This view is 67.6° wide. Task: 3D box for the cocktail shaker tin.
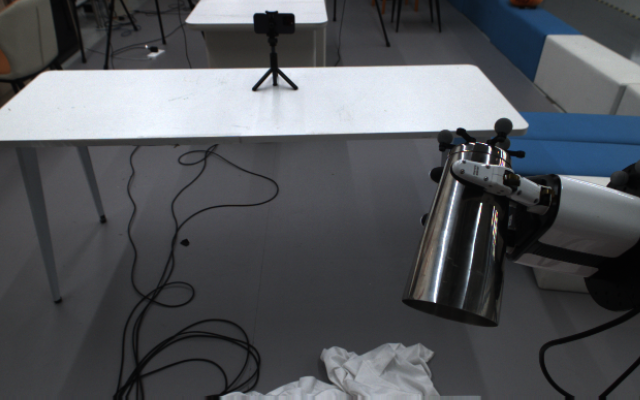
[{"bbox_3d":[0.149,0.029,0.494,0.093,0.093,0.170,12,72,14],"label":"cocktail shaker tin"}]
